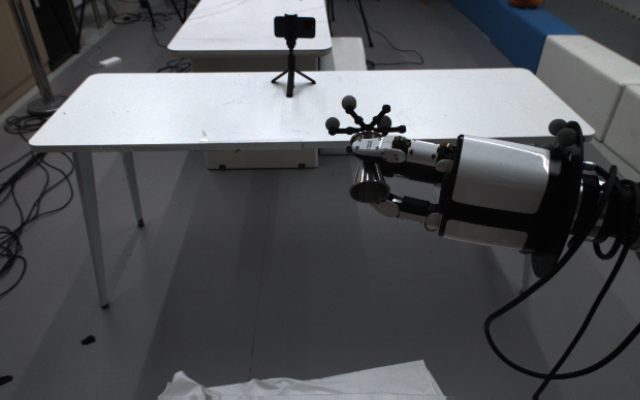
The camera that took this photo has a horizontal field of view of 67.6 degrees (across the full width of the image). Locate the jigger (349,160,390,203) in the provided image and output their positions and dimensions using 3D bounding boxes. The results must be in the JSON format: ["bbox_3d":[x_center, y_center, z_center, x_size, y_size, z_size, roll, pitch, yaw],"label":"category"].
[{"bbox_3d":[0.054,-0.039,0.528,0.043,0.043,0.071,2,59,-1],"label":"jigger"}]
